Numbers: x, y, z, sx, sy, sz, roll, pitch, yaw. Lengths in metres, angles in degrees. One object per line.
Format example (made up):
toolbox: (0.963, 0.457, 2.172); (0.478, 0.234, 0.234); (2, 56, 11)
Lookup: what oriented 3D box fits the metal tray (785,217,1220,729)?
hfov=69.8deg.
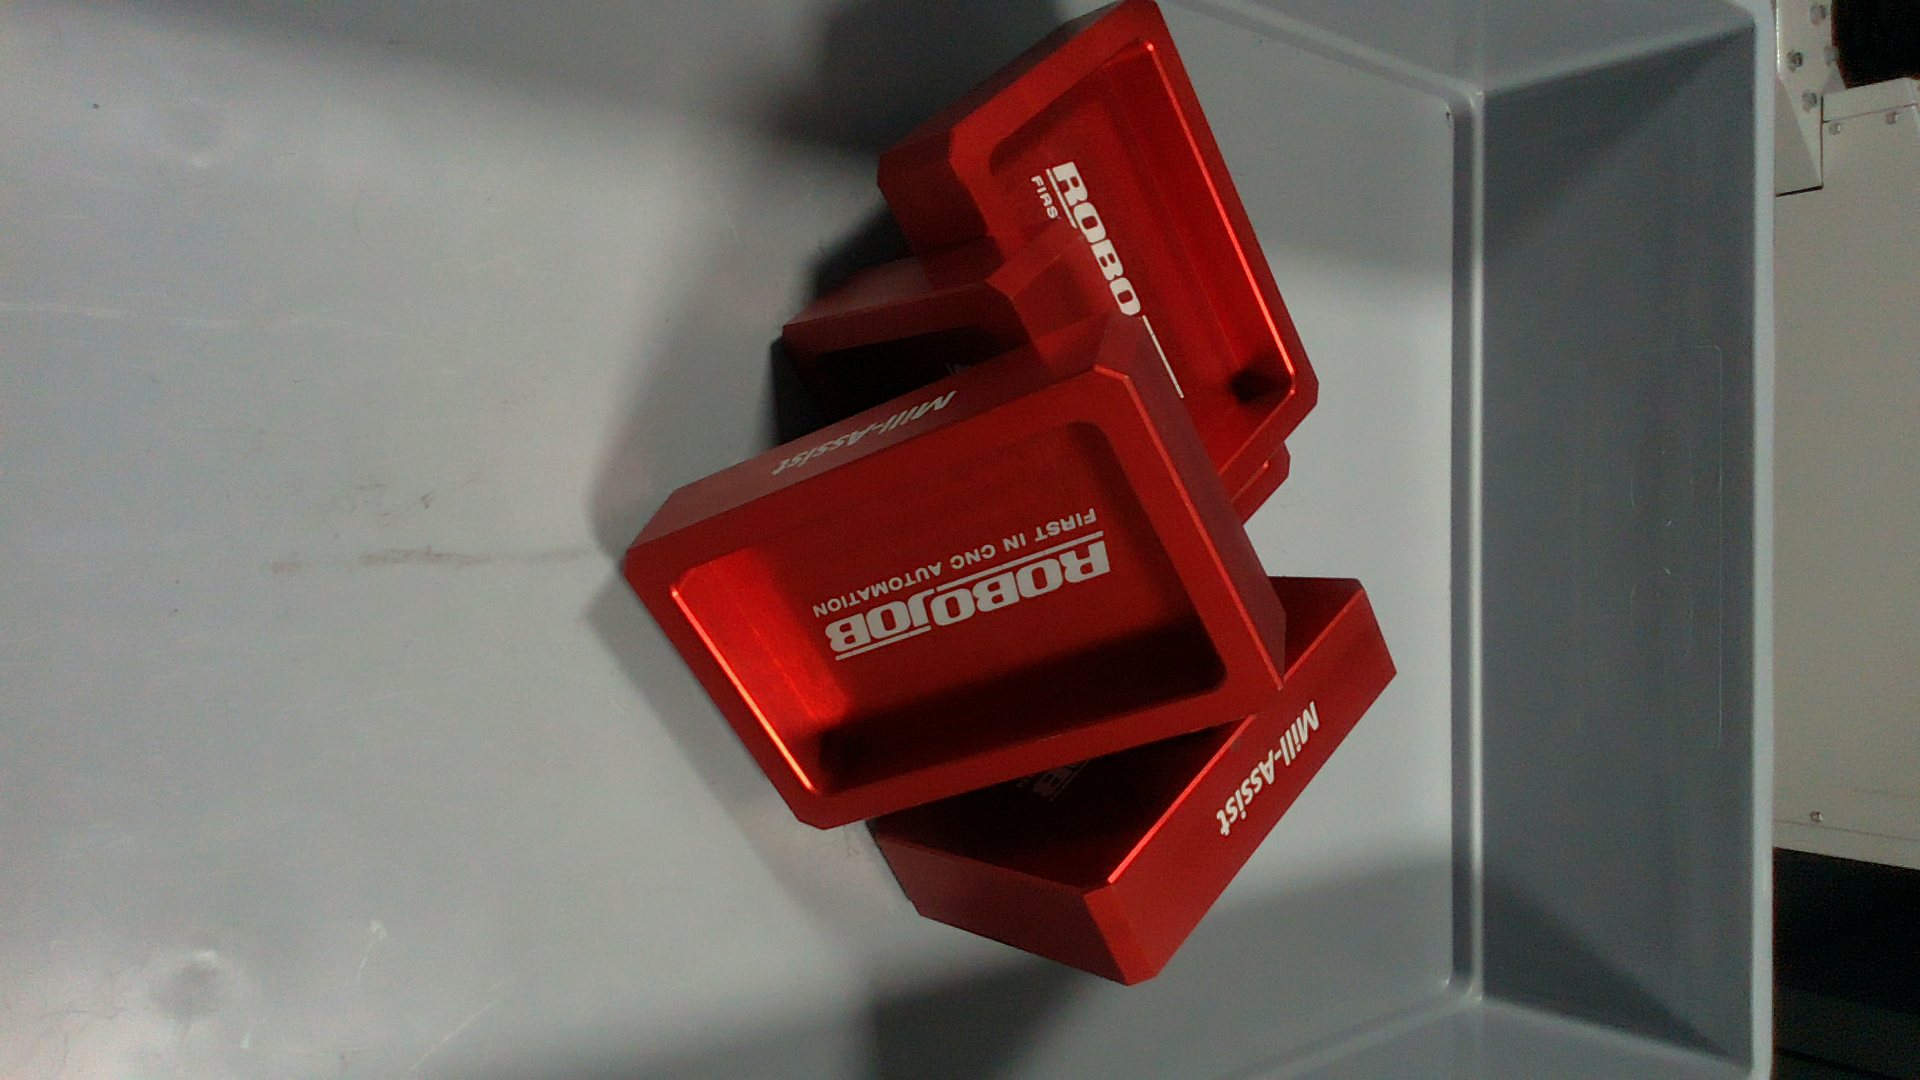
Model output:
metal tray: (0.019, -0.013, 0.360); (0.030, 0.090, 0.130); (-44, 117, -31)

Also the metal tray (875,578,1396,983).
metal tray: (0.050, 0.058, 0.387); (0.130, 0.090, 0.030); (-40, 114, -33)

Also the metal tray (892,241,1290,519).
metal tray: (0.045, -0.053, 0.423); (0.090, 0.030, 0.130); (-41, 114, -31)

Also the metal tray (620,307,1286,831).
metal tray: (-0.001, 0.012, 0.320); (0.090, 0.130, 0.030); (60, 26, -23)

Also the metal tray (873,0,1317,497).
metal tray: (0.043, -0.069, 0.381); (0.090, 0.030, 0.130); (-44, 116, -31)
